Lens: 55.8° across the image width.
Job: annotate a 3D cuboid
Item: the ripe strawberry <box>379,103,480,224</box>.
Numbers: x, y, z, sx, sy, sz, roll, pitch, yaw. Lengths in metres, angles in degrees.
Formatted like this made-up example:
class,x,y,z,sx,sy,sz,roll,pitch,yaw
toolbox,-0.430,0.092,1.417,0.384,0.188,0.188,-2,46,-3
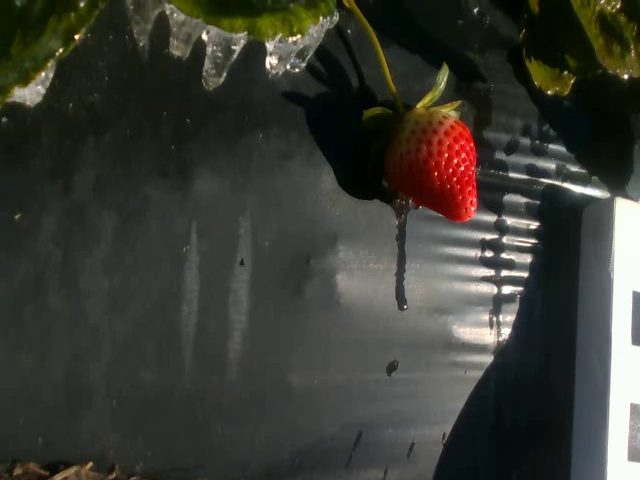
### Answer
class,x,y,z,sx,sy,sz,roll,pitch,yaw
ripe strawberry,0.047,-0.027,0.231,0.039,0.053,0.041,-10,-23,-22
